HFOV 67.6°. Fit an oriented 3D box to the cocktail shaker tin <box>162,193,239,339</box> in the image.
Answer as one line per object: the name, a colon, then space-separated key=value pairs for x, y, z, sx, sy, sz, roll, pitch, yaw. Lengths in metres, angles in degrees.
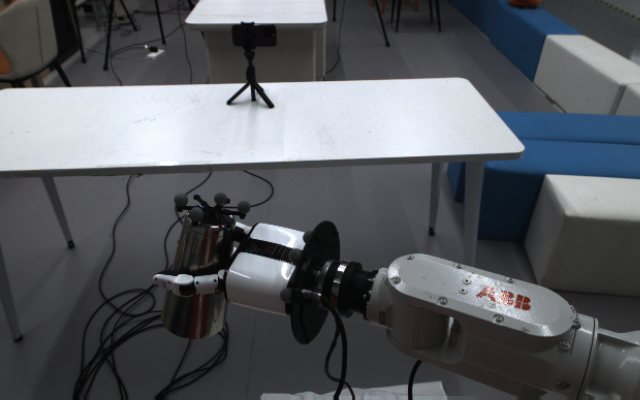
cocktail shaker tin: x=-0.162 y=0.095 z=0.671 sx=0.093 sy=0.170 sz=0.093 roll=12 pitch=24 yaw=-5
